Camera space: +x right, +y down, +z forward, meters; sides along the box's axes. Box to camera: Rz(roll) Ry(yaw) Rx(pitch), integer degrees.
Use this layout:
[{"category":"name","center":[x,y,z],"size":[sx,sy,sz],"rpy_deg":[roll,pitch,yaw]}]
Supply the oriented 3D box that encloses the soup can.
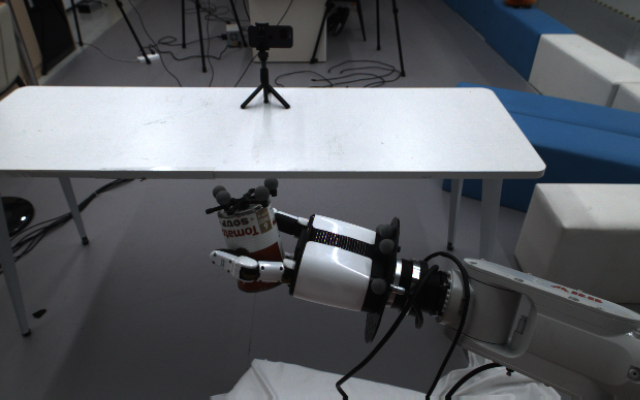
[{"category":"soup can","center":[-0.079,0.054,0.597],"size":[0.067,0.101,0.067],"rpy_deg":[-12,17,4]}]
